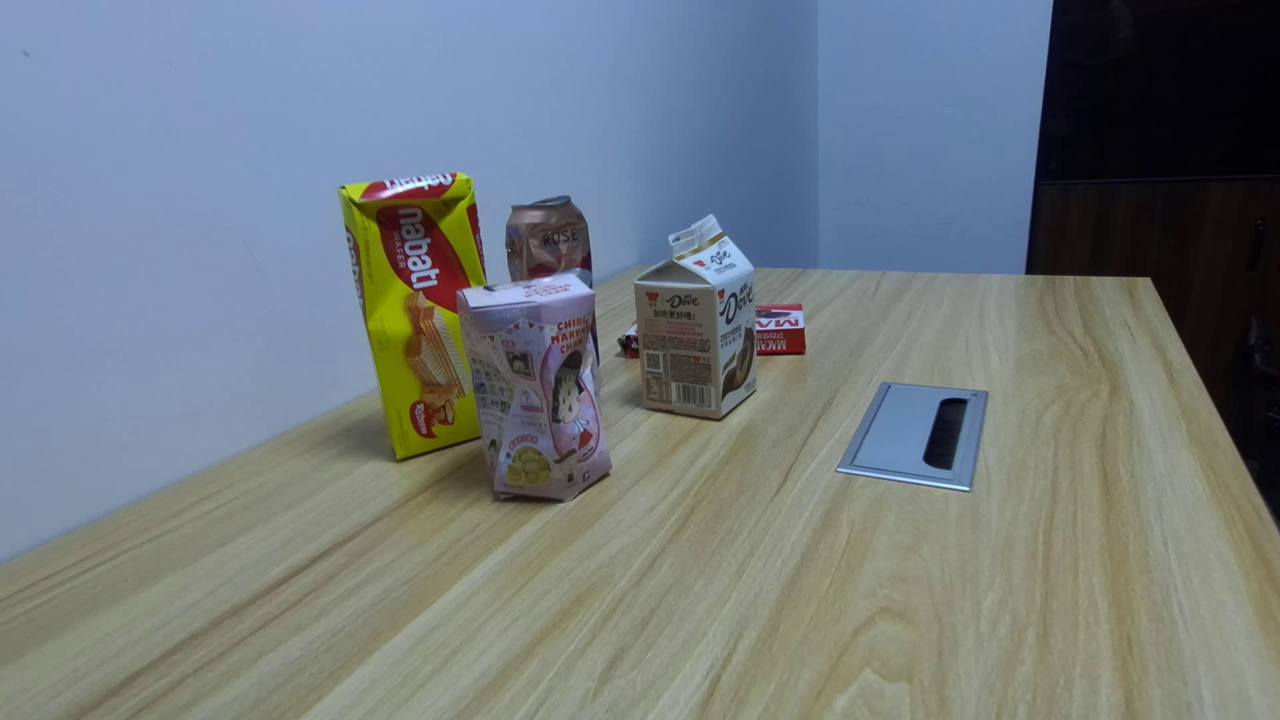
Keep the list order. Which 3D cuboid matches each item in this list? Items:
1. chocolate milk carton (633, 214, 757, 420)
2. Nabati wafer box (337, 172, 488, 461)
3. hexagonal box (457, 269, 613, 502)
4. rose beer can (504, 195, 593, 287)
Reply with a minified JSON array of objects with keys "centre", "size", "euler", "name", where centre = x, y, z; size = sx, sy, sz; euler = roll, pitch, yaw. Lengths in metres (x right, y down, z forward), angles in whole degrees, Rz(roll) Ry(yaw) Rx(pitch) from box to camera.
[{"centre":[0.046,-0.037,0.569],"size":[0.074,0.148,0.075],"euler":[7,21,31],"name":"chocolate milk carton"},{"centre":[-0.159,-0.033,0.537],"size":[0.097,0.203,0.042],"euler":[-13,18,-27],"name":"Nabati wafer box"},{"centre":[-0.070,0.019,0.468],"size":[0.093,0.134,0.089],"euler":[-2,19,6],"name":"hexagonal box"},{"centre":[-0.078,-0.061,0.653],"size":[0.076,0.167,0.065],"euler":[-14,14,-20],"name":"rose beer can"}]
